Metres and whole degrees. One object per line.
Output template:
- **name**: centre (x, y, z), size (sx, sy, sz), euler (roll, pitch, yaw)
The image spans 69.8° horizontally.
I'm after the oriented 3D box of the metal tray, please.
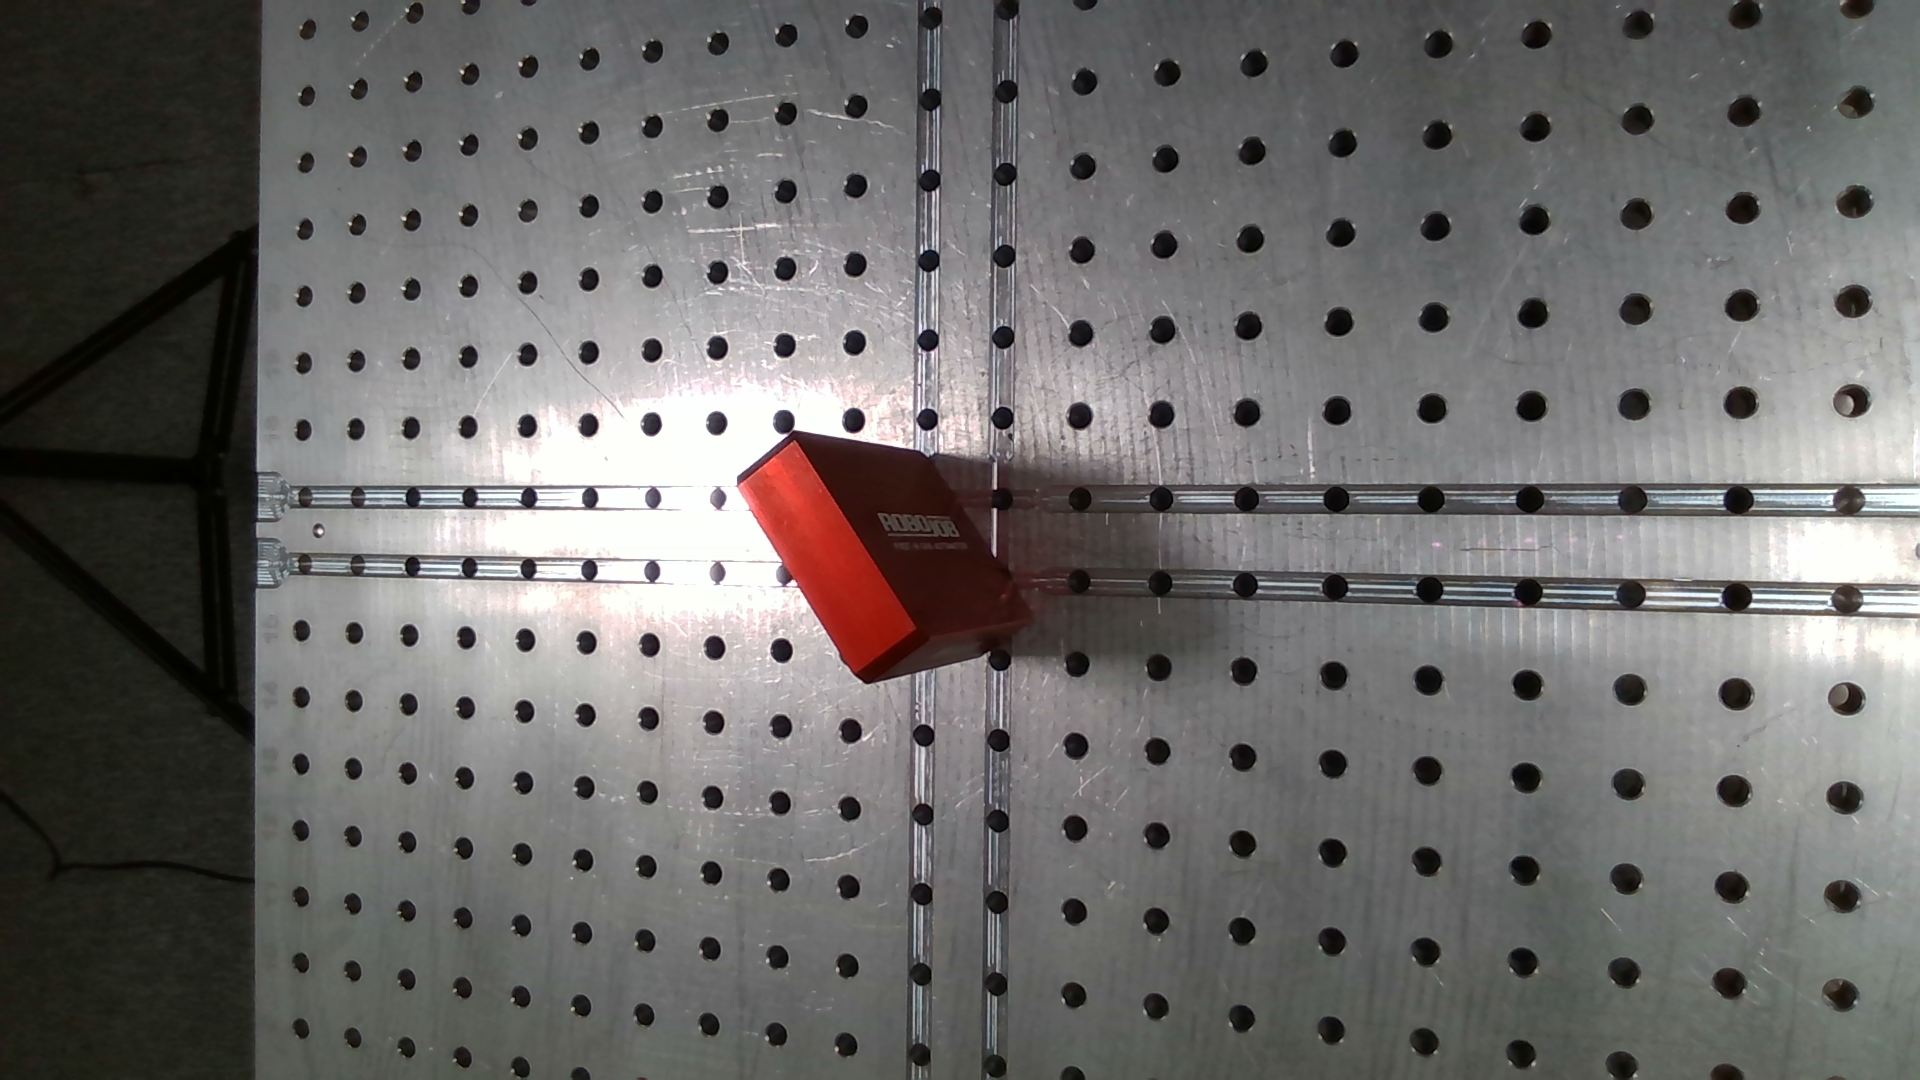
- **metal tray**: centre (-0.025, 0.005, 0.541), size (0.030, 0.130, 0.090), euler (-37, 78, 16)
